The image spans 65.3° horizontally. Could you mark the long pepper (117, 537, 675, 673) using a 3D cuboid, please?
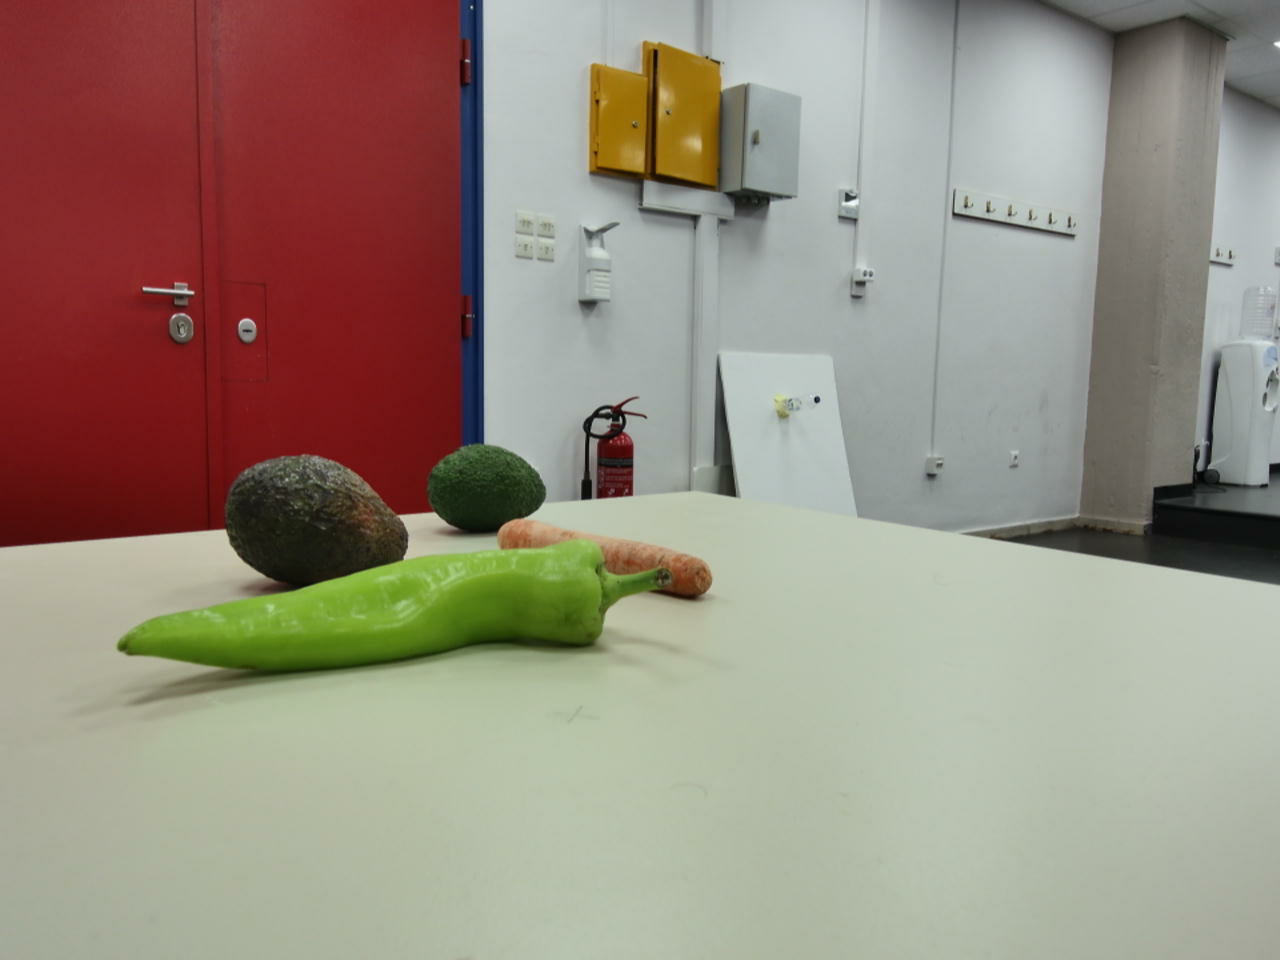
[{"bbox_3d":[-0.090,0.051,0.407,0.204,0.045,0.065,-2,4,-22],"label":"long pepper"}]
